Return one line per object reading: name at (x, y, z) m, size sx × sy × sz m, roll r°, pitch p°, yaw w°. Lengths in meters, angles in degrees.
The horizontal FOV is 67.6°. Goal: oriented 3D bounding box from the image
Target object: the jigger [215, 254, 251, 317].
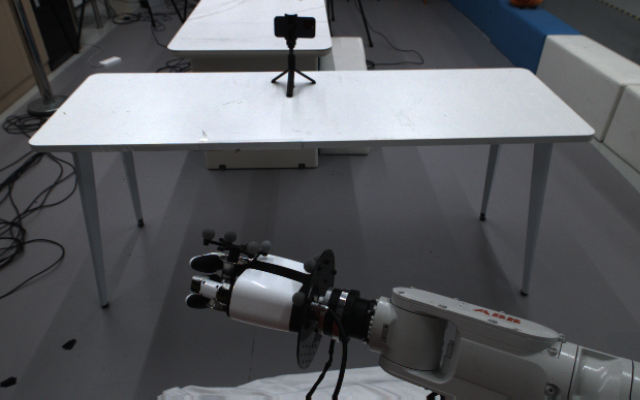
jigger at (-0.125, 0.115, 0.671) m, size 0.043 × 0.071 × 0.043 m, roll 14°, pitch 1°, yaw 0°
